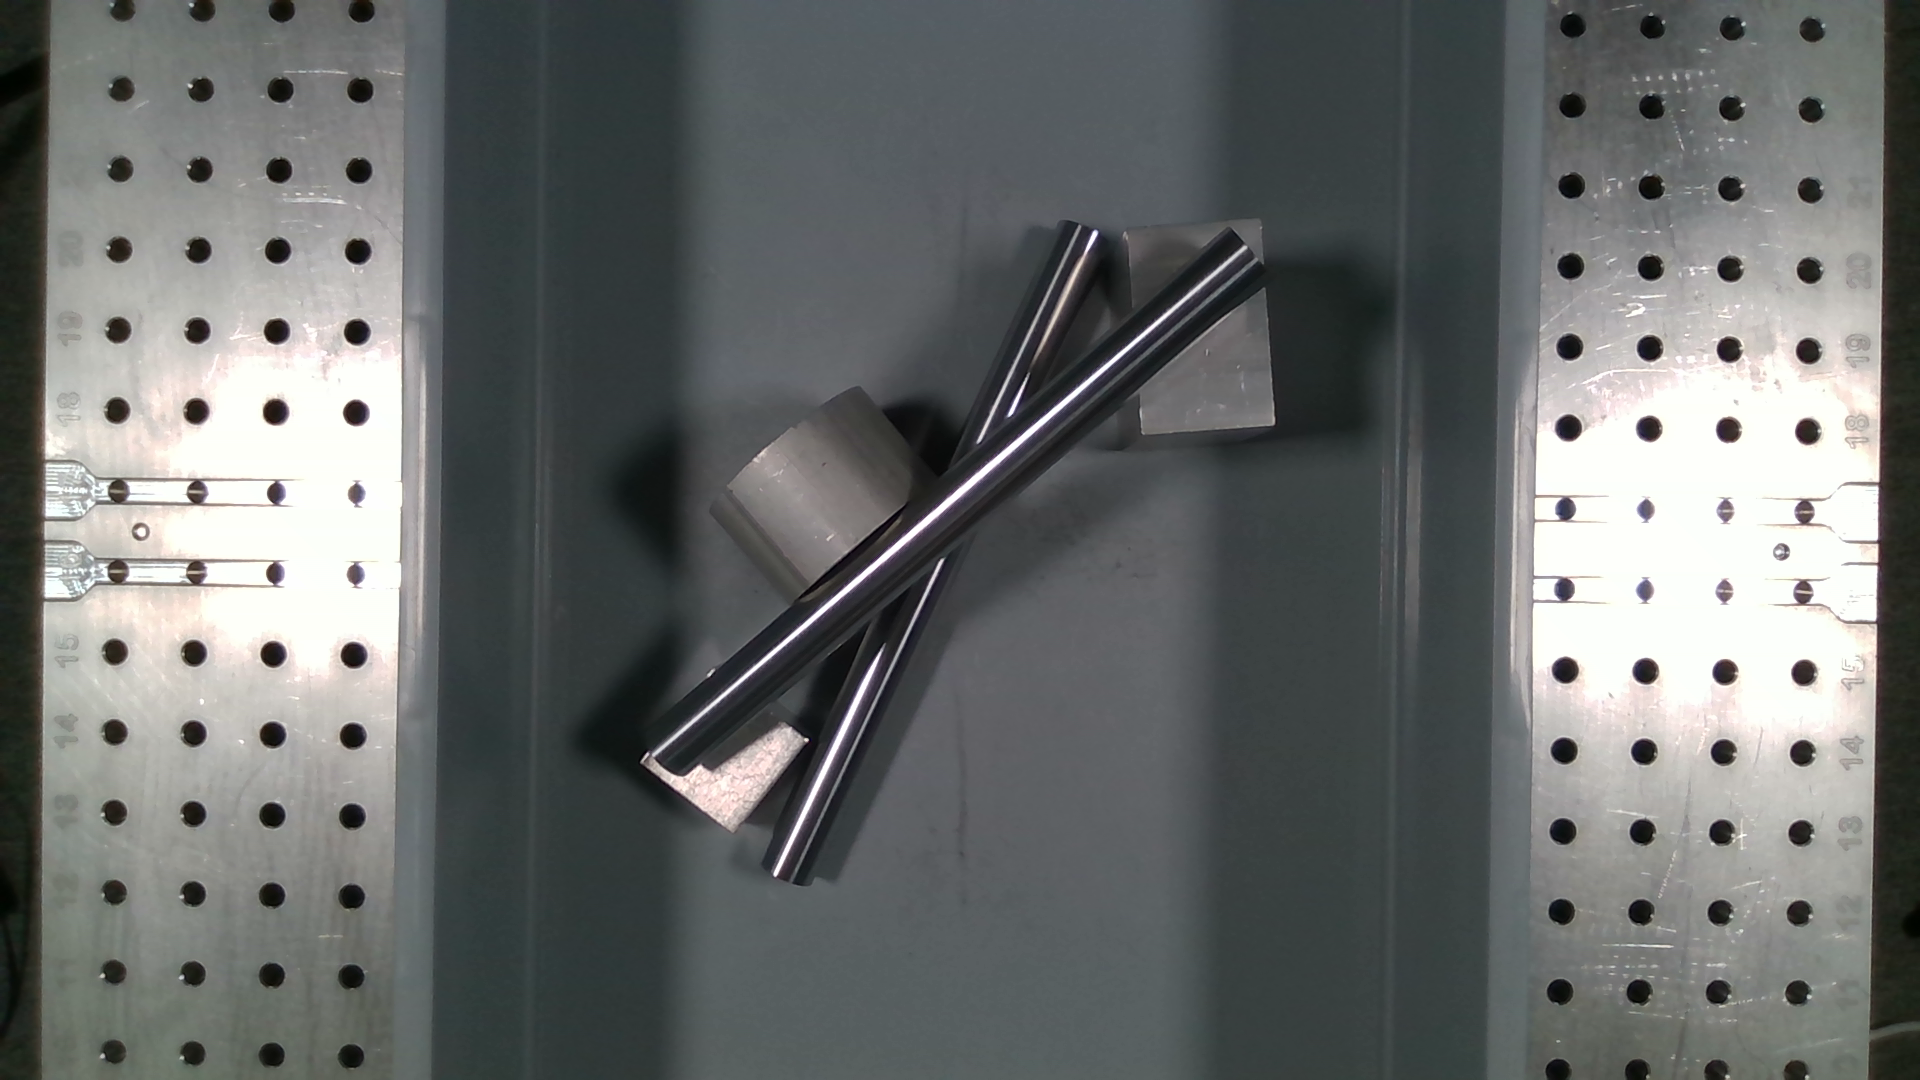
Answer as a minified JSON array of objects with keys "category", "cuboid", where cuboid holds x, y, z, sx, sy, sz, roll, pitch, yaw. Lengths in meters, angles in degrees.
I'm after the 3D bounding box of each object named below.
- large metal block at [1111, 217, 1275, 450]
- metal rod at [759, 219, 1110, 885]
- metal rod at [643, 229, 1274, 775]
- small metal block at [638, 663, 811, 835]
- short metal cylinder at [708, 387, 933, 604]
[{"category":"large metal block","cuboid":[0.091,-0.080,0.559,0.050,0.080,0.080,-4,90,0]},{"category":"metal rod","cuboid":[-0.011,0.005,0.586,0.025,0.025,0.300,25,90,0]},{"category":"metal rod","cuboid":[-0.007,-0.008,0.528,0.300,0.025,0.025,-40,90,13]},{"category":"small metal block","cuboid":[-0.099,0.088,0.587,0.050,0.025,0.050,38,90,0]},{"category":"short metal cylinder","cuboid":[-0.055,-0.017,0.557,0.080,0.080,0.050,-40,90,0]}]
